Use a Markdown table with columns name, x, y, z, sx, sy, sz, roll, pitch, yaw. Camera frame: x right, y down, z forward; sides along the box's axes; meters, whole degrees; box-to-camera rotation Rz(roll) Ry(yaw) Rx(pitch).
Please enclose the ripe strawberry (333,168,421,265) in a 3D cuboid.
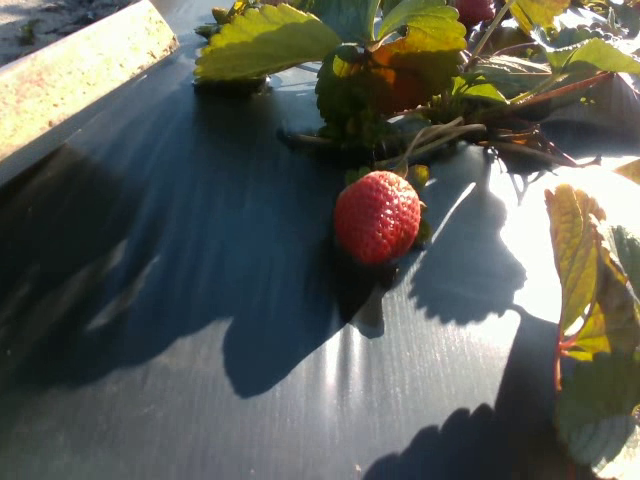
| name | x | y | z | sx | sy | sz | roll | pitch | yaw |
| --- | --- | --- | --- | --- | --- | --- | --- | --- | --- |
| ripe strawberry | 0.024 | -0.007 | 0.238 | 0.044 | 0.044 | 0.064 | -29 | 22 | 22 |
